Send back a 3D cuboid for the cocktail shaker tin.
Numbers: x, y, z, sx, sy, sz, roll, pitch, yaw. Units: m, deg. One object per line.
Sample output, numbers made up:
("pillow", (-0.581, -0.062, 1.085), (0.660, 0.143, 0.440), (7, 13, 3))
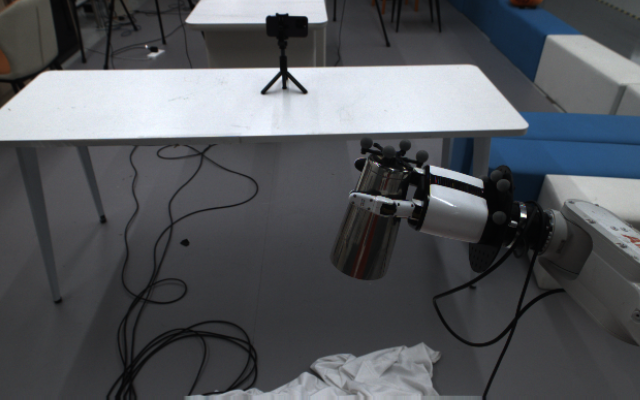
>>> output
("cocktail shaker tin", (0.082, 0.018, 0.713), (0.093, 0.170, 0.093), (12, 25, -6))
